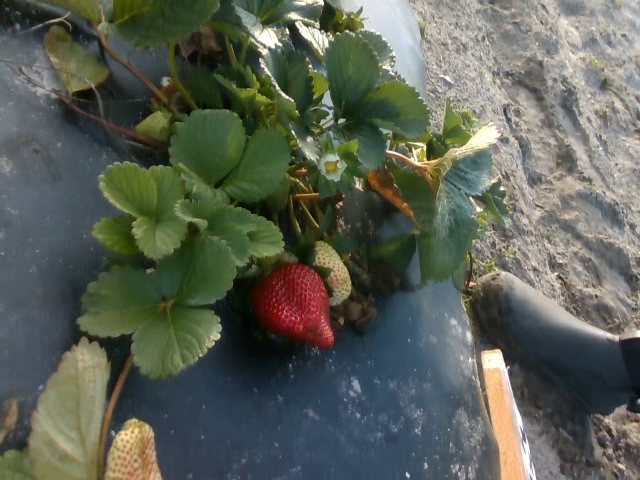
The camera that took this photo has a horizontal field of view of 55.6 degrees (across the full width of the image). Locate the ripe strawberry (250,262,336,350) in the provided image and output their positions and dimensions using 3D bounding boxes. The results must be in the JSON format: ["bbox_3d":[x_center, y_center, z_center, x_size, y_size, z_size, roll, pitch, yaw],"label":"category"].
[{"bbox_3d":[-0.013,0.045,0.374,0.057,0.058,0.071,-23,21,-7],"label":"ripe strawberry"}]
